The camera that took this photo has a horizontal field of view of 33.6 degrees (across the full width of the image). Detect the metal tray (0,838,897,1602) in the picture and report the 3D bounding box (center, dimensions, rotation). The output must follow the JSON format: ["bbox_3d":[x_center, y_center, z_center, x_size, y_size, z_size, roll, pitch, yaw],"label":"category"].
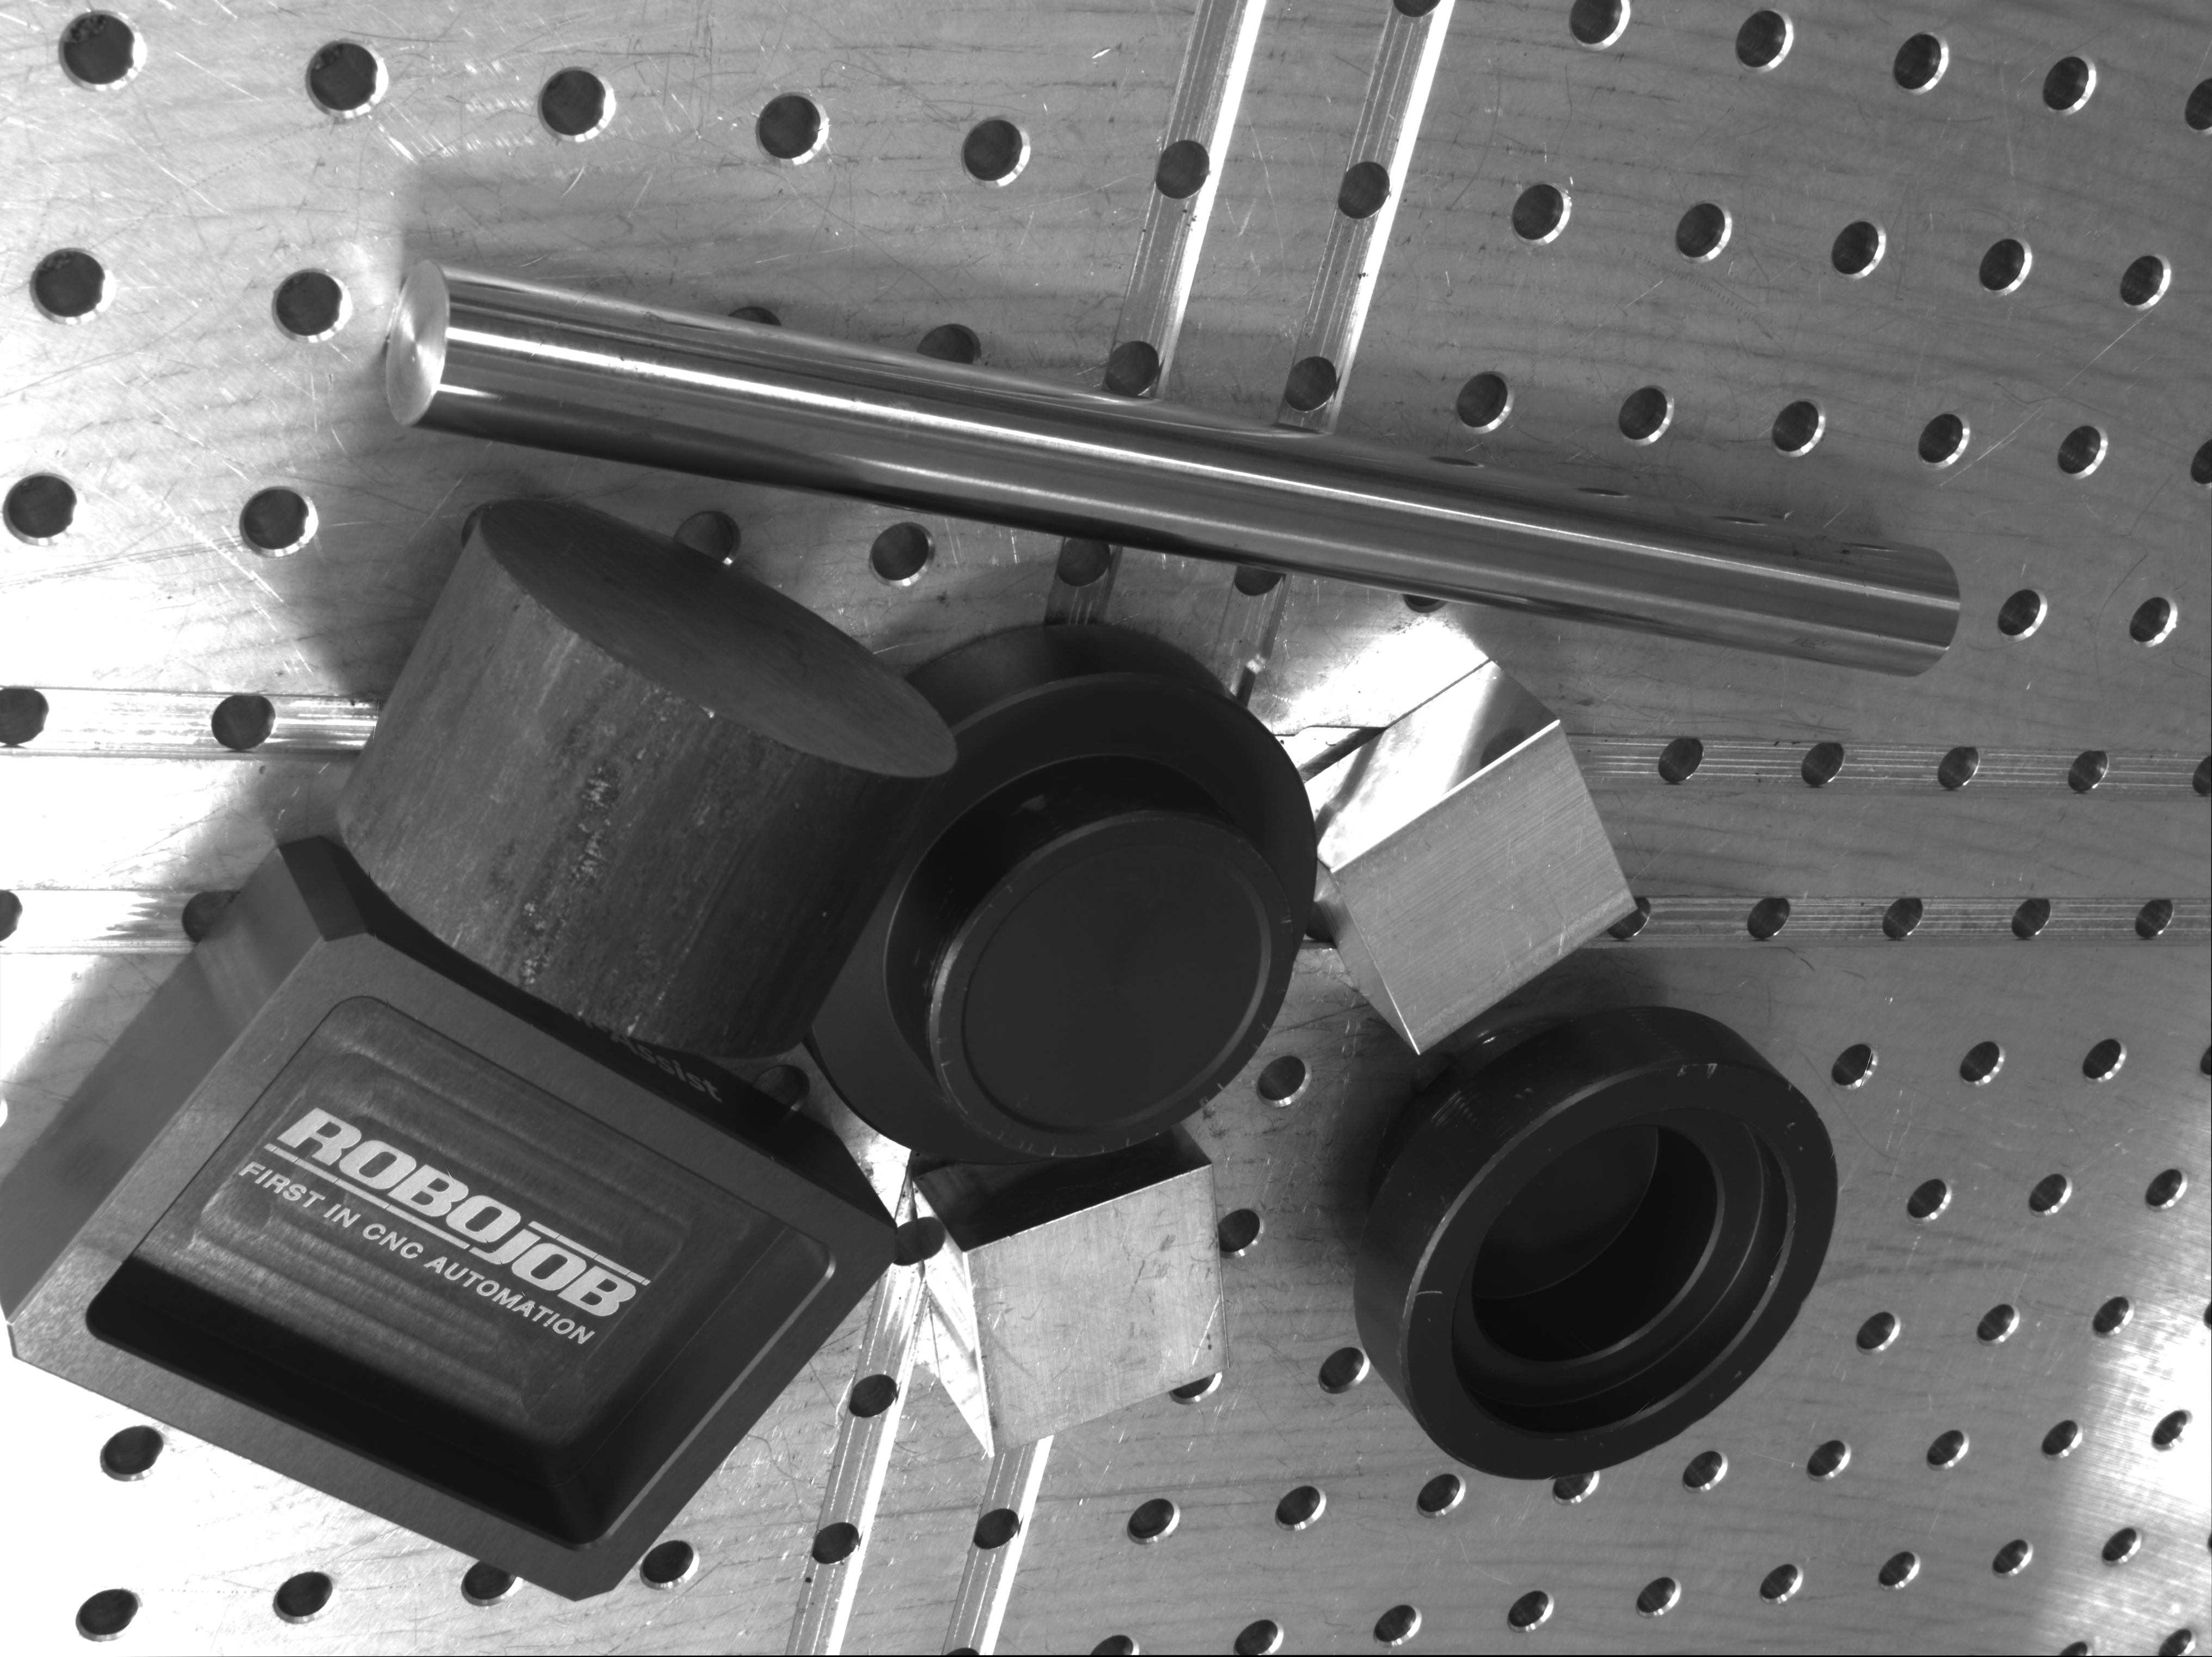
[{"bbox_3d":[-0.110,0.069,0.619,0.130,0.030,0.090,35,99,-38],"label":"metal tray"}]

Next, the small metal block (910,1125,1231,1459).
[{"bbox_3d":[-0.006,0.084,0.688,0.050,0.025,0.050,-18,125,-18],"label":"small metal block"}]

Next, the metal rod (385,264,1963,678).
[{"bbox_3d":[0.026,-0.056,0.620,0.301,0.025,0.025,7,115,-31],"label":"metal rod"}]

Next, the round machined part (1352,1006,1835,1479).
[{"bbox_3d":[0.092,0.077,0.725,0.098,0.042,0.098,-14,124,-21],"label":"round machined part"}]

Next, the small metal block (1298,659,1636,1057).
[{"bbox_3d":[0.064,0.006,0.678,0.050,0.025,0.050,-33,129,-7],"label":"small metal block"}]

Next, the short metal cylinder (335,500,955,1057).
[{"bbox_3d":[-0.070,-0.008,0.562,0.080,0.080,0.050,19,108,-35],"label":"short metal cylinder"}]

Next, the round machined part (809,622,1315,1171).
[{"bbox_3d":[-0.007,0.017,0.635,0.098,0.042,0.098,-13,121,-22],"label":"round machined part"}]
